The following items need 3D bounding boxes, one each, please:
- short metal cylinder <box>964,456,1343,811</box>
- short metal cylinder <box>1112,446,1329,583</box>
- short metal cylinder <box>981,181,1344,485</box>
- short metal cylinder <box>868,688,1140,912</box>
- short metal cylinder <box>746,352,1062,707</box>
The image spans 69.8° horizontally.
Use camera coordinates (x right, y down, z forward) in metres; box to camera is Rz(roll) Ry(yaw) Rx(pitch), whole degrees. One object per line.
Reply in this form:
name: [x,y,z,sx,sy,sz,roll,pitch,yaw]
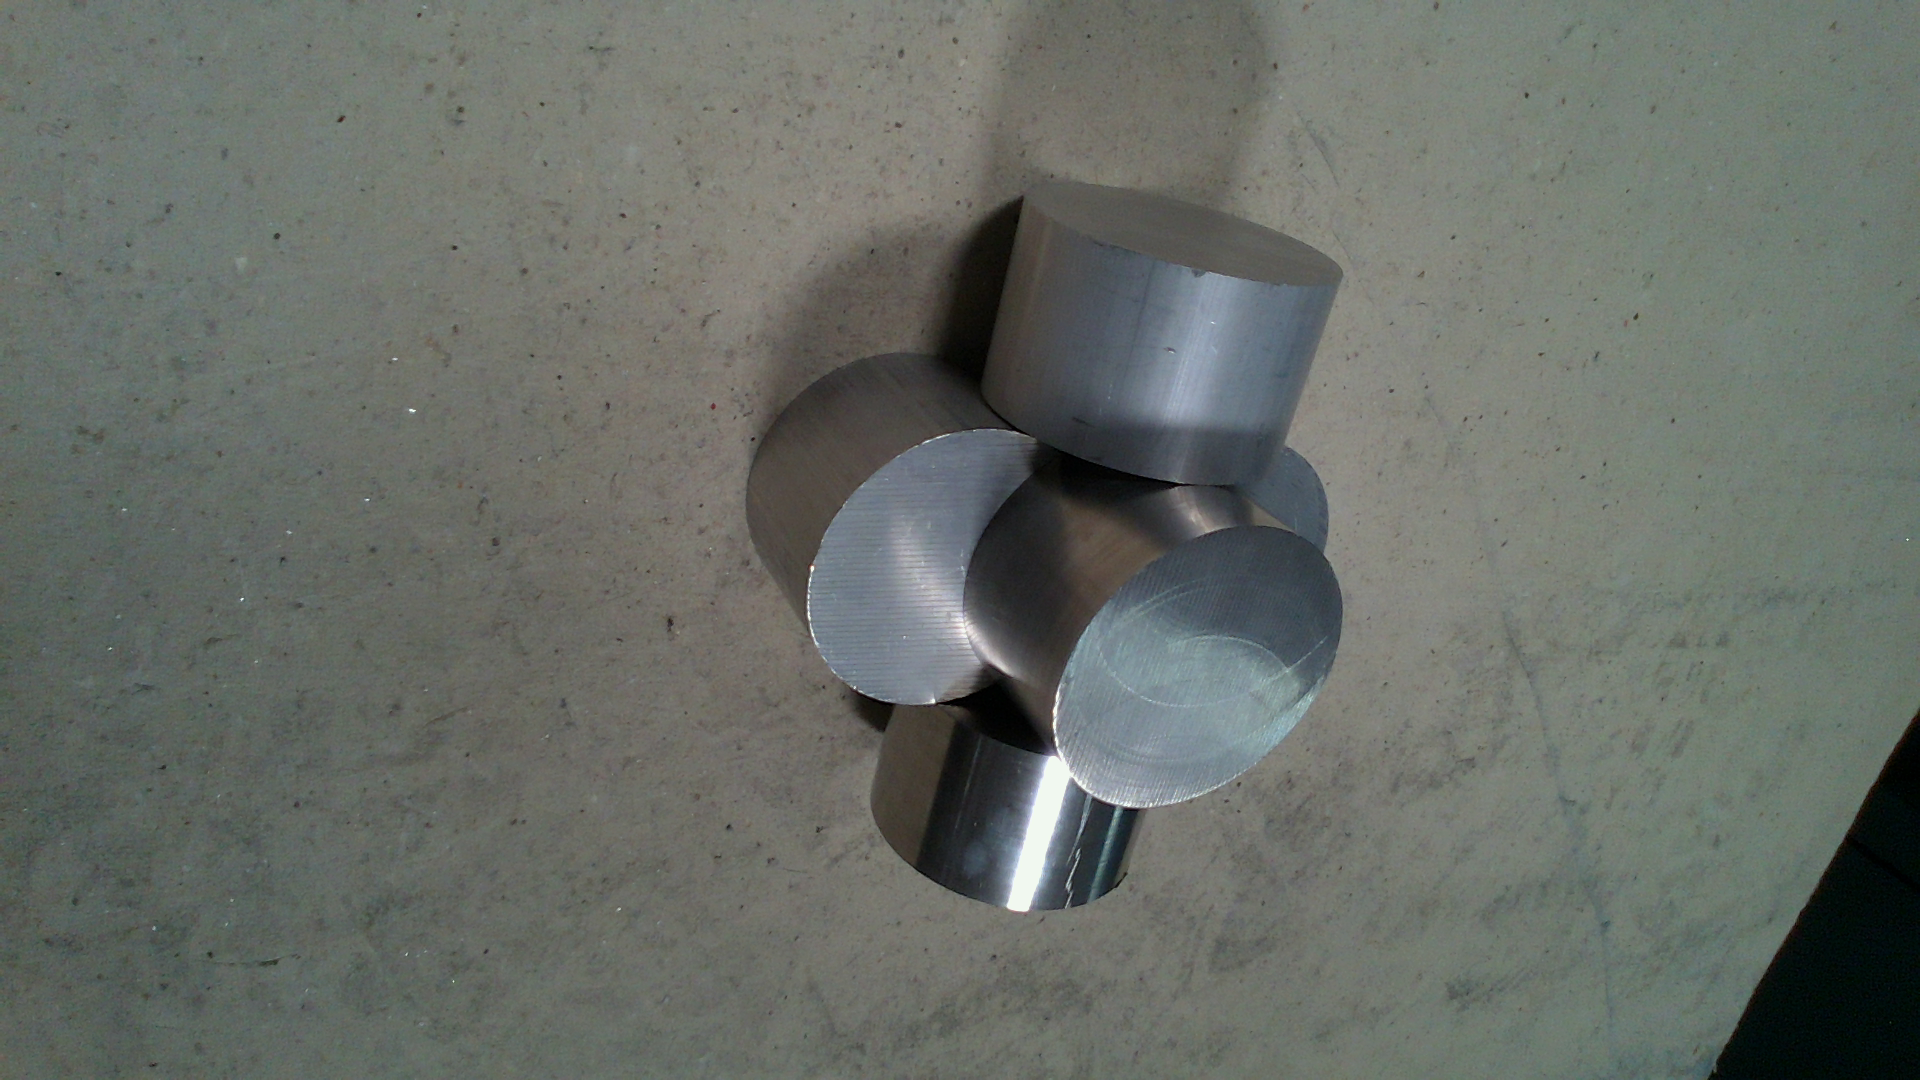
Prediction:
short metal cylinder: [0.048,0.020,0.346,0.080,0.050,0.080,-14,124,-21]
short metal cylinder: [0.059,-0.004,0.403,0.080,0.050,0.080,-14,124,-21]
short metal cylinder: [0.050,-0.054,0.348,0.080,0.080,0.050,0,119,-28]
short metal cylinder: [0.017,0.061,0.402,0.080,0.080,0.050,0,118,-28]
short metal cylinder: [-0.011,-0.003,0.365,0.080,0.050,0.080,-14,124,-21]
